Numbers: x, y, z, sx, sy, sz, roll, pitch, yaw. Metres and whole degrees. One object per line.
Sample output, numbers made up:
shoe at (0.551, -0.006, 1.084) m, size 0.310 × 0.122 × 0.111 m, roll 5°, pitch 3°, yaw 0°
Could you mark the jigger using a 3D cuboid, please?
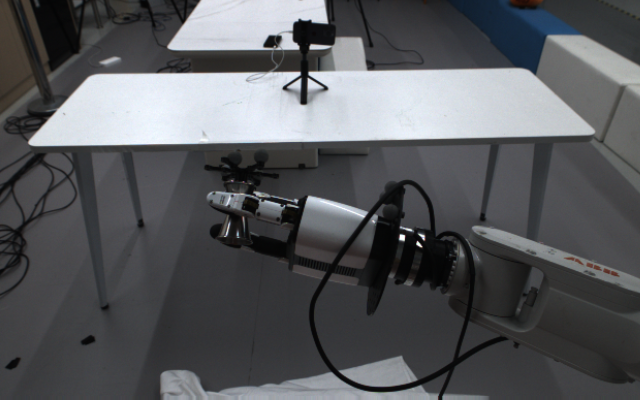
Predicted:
jigger at (-0.098, 0.015, 0.571) m, size 0.043 × 0.043 × 0.071 m, roll 3°, pitch 75°, yaw 2°
